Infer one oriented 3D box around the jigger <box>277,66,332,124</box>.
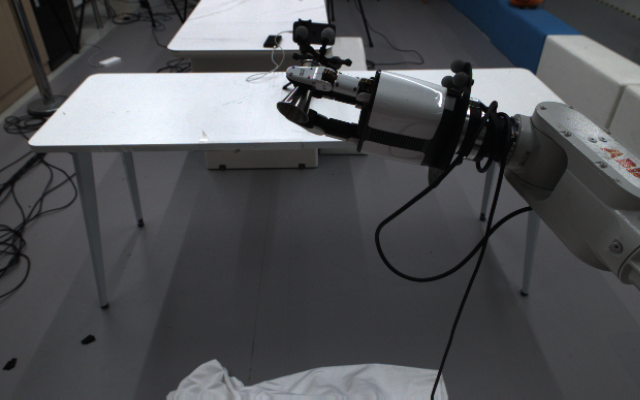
[{"bbox_3d":[-0.020,-0.139,0.606,0.043,0.043,0.071,19,72,23],"label":"jigger"}]
